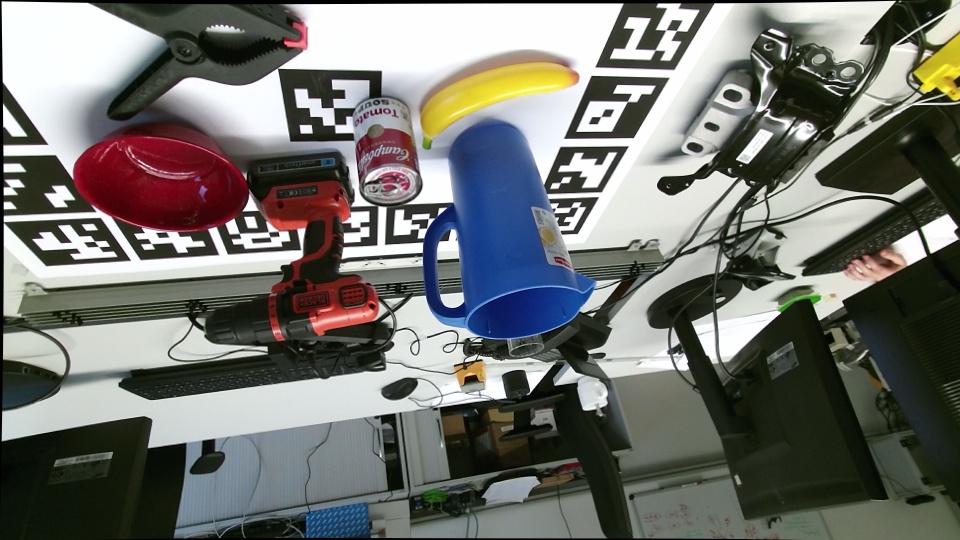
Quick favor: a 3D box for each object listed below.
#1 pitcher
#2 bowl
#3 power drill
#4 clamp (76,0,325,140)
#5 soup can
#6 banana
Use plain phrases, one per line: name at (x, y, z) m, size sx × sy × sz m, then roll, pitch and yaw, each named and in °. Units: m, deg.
pitcher at (0.024, -0.032, 0.650) m, size 0.189 × 0.241 × 0.133 m, roll -17°, pitch 152°, yaw 6°
bowl at (-0.328, -0.095, 0.588) m, size 0.162 × 0.055 × 0.162 m, roll -10°, pitch 148°, yaw -6°
power drill at (-0.215, -0.002, 0.622) m, size 0.185 × 0.186 × 0.057 m, roll -7°, pitch 149°, yaw -10°
clamp at (-0.243, -0.188, 0.475) m, size 0.203 × 0.036 × 0.165 m, roll -6°, pitch 145°, yaw -13°
soup can at (-0.097, -0.116, 0.603) m, size 0.068 × 0.101 × 0.068 m, roll -10°, pitch 158°, yaw -4°
banana at (0.026, -0.179, 0.610) m, size 0.198 × 0.038 × 0.074 m, roll -16°, pitch 158°, yaw 8°
